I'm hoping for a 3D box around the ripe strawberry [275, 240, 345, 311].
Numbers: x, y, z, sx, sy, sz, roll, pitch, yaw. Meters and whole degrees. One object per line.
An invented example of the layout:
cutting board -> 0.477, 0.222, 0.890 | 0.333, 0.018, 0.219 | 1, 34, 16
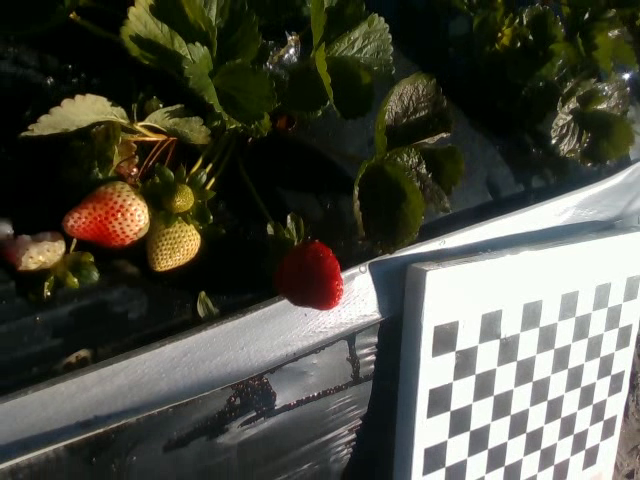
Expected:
ripe strawberry -> -0.004, 0.021, 0.293 | 0.036, 0.038, 0.045 | -8, 32, -29
